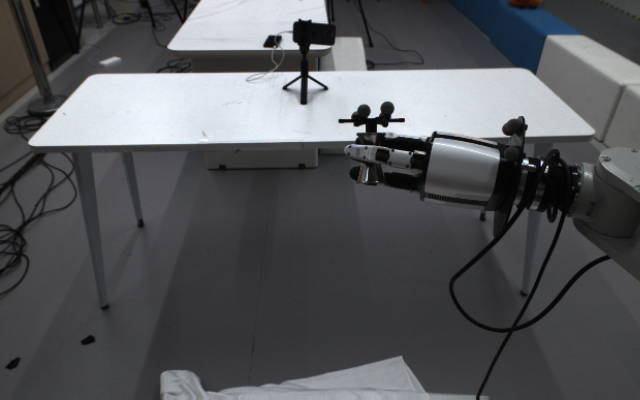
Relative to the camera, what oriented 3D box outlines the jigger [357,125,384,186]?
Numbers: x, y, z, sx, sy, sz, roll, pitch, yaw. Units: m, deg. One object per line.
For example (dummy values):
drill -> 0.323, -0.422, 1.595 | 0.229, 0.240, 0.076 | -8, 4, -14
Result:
jigger -> 0.070, -0.057, 0.661 | 0.043, 0.071, 0.043 | -1, 2, 0
